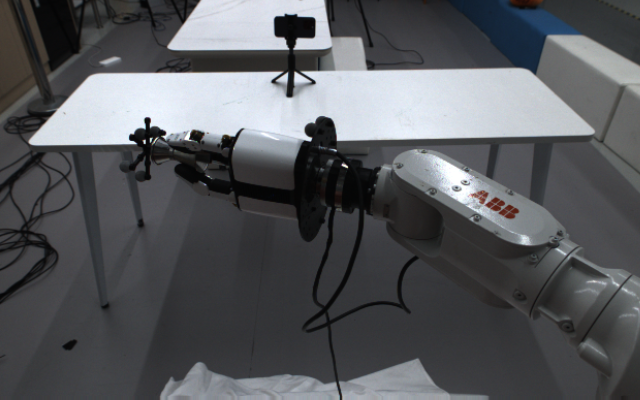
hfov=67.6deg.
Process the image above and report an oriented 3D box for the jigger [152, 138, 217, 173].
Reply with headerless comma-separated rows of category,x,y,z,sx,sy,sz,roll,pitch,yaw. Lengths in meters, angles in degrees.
jigger,-0.186,-0.067,0.666,0.071,0.043,0.043,8,35,12
